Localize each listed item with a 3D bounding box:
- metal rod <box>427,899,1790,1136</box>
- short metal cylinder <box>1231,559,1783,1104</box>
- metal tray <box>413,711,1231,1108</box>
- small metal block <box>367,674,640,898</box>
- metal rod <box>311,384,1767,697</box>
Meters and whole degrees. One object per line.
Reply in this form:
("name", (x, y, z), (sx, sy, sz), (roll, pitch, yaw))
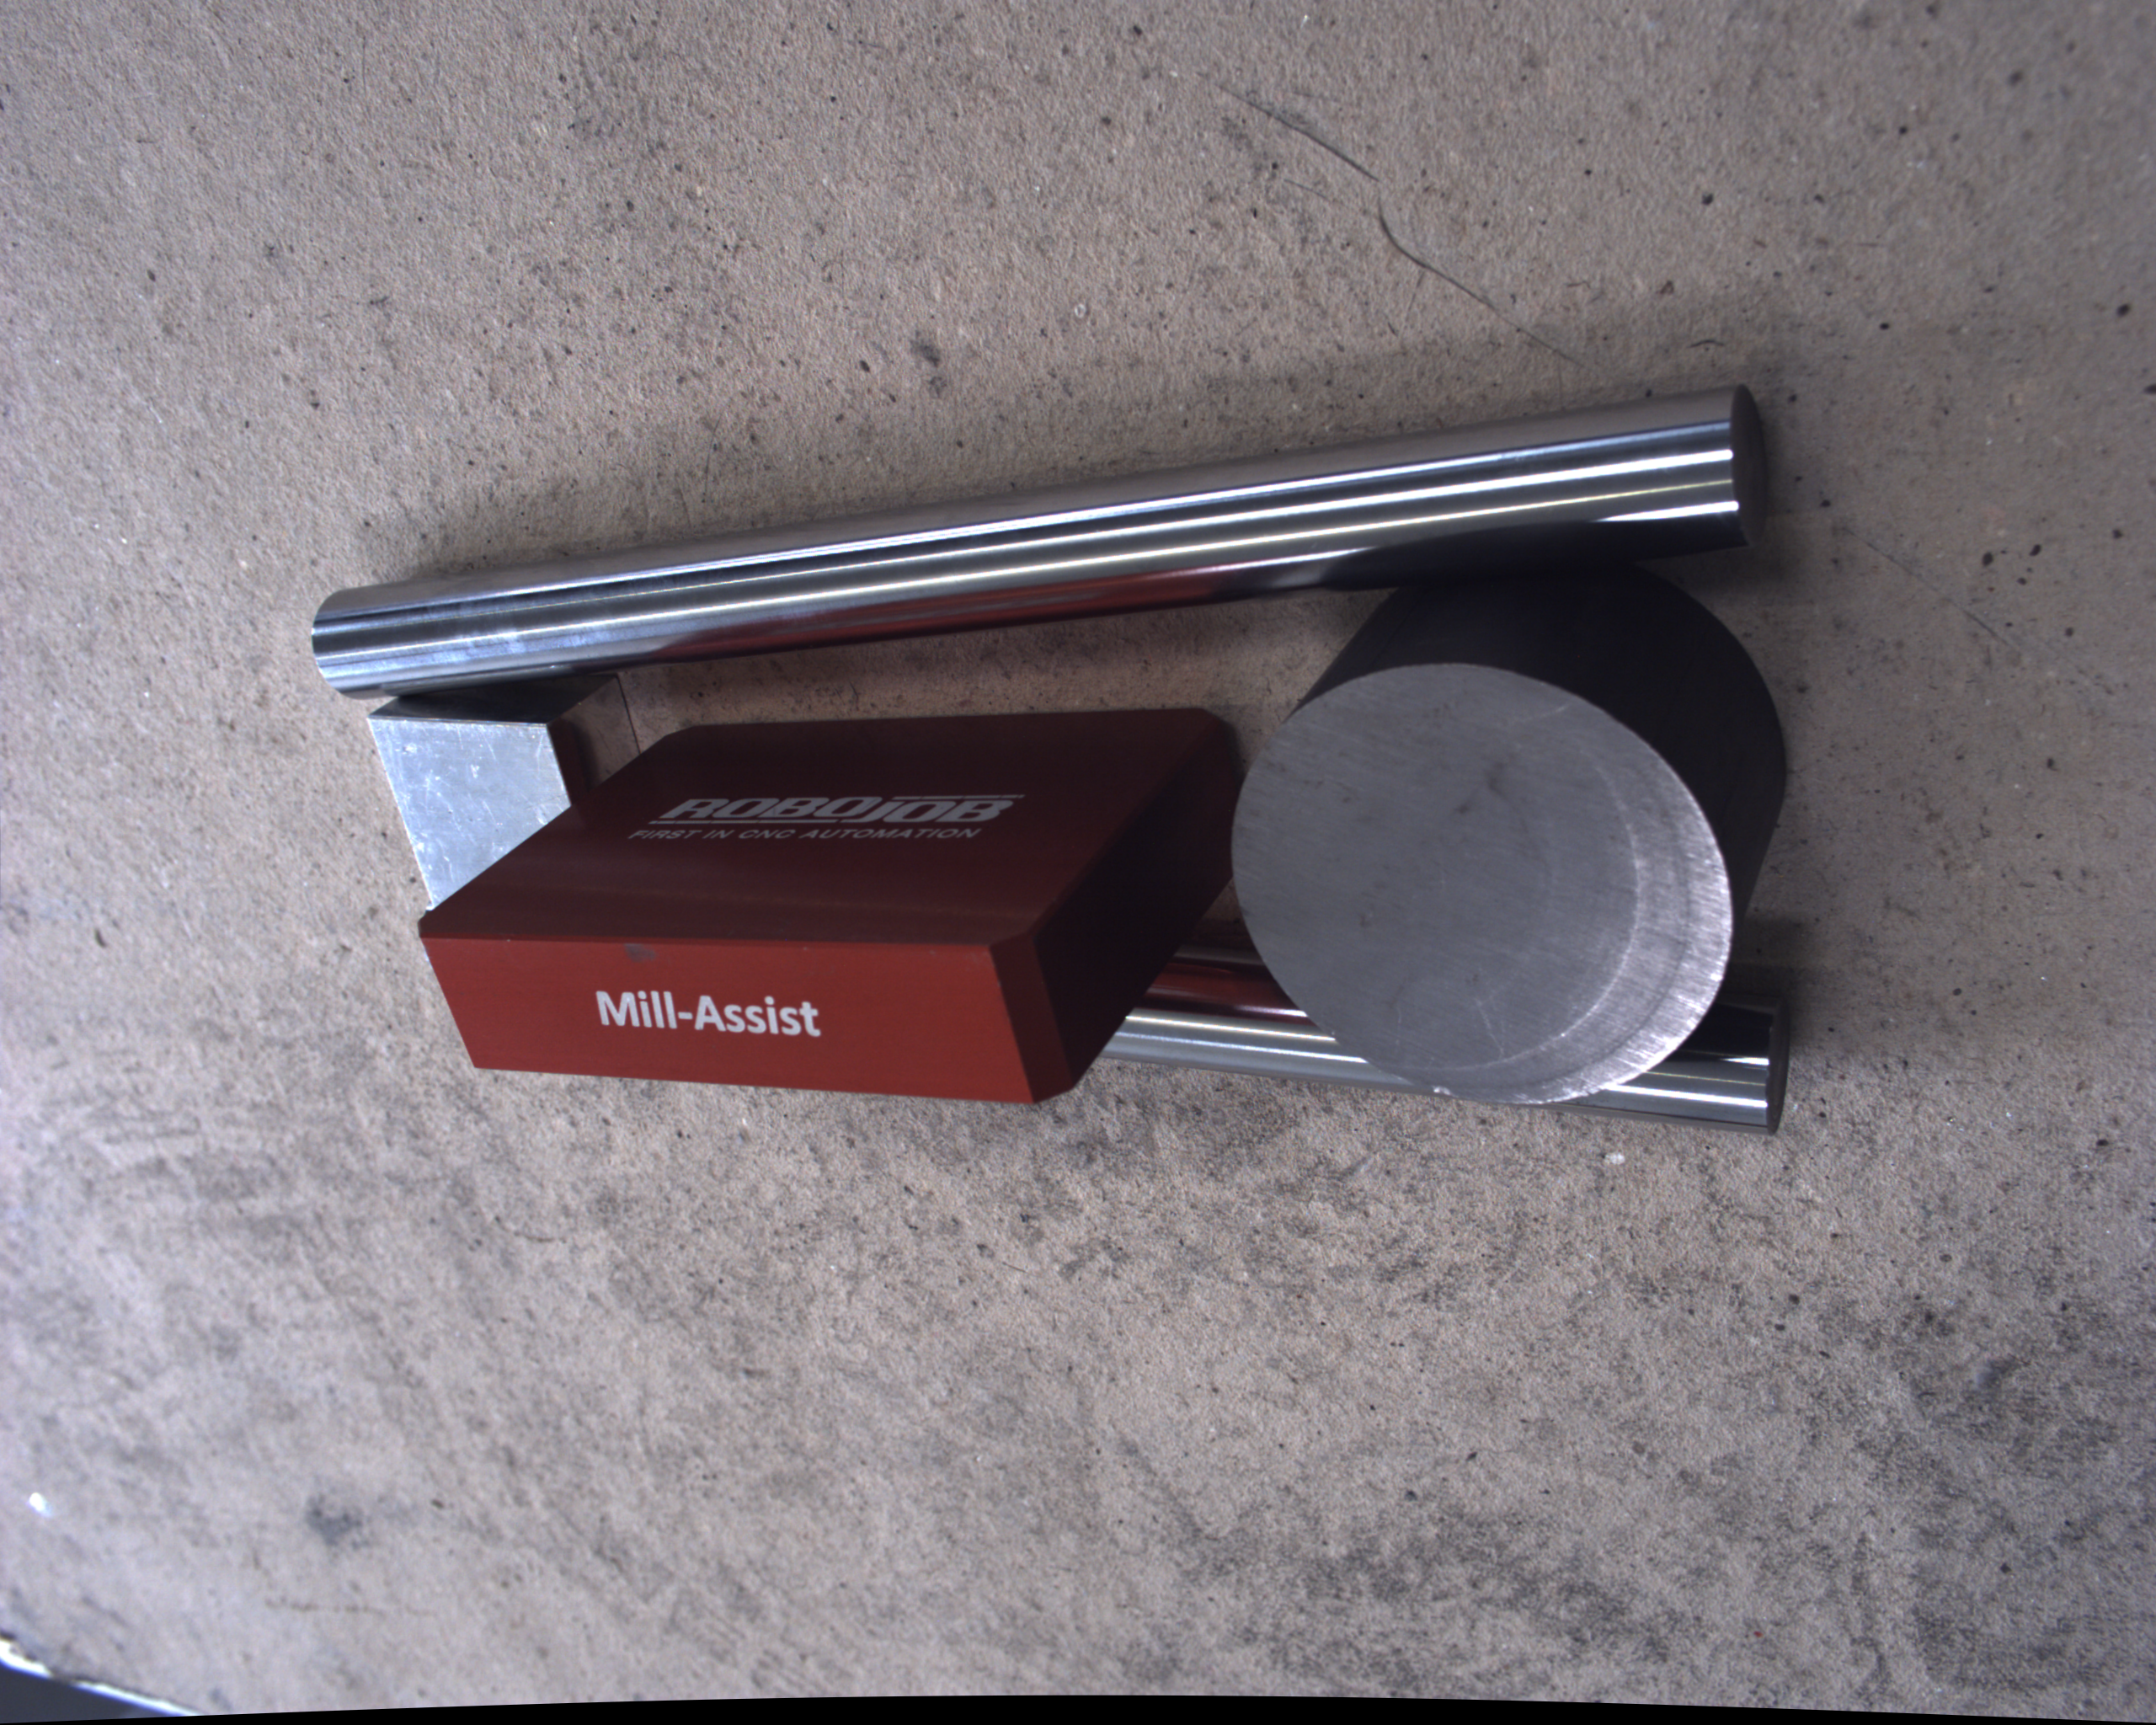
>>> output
("metal rod", (-0.012, 0.026, 0.431), (0.301, 0.025, 0.025), (4, 120, 26))
("short metal cylinder", (0.072, -0.007, 0.349), (0.080, 0.050, 0.079), (13, 124, 21))
("metal tray", (-0.045, 0.005, 0.392), (0.130, 0.090, 0.030), (0, 118, 28))
("small metal block", (-0.123, -0.015, 0.465), (0.050, 0.025, 0.050), (4, 121, 26))
("metal rod", (-0.029, -0.055, 0.390), (0.300, 0.025, 0.025), (-2, 117, 29))
